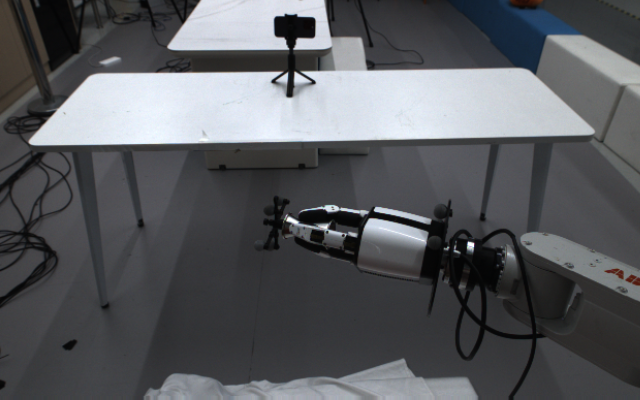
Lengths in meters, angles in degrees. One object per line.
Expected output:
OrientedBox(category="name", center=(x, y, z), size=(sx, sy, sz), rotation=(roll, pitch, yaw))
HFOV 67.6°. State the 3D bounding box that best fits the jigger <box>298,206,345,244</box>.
OrientedBox(category="jigger", center=(-0.010, 0.039, 0.694), size=(0.071, 0.043, 0.043), rotation=(10, 35, 16))
